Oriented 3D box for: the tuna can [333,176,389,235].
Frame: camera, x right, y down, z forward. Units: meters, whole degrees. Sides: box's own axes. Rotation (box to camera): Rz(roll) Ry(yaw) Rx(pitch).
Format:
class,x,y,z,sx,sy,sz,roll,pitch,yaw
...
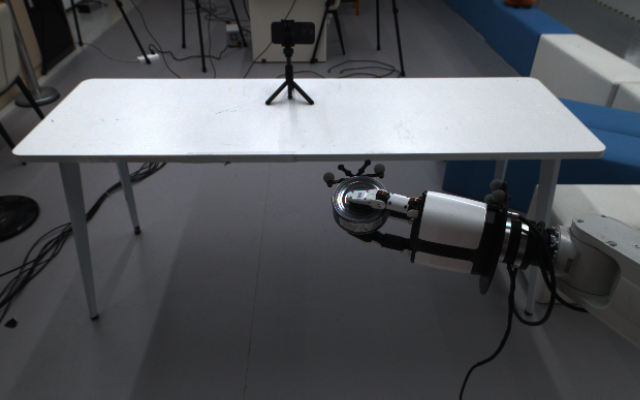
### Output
class,x,y,z,sx,sy,sz,roll,pitch,yaw
tuna can,0.065,0.013,0.718,0.085,0.034,0.085,-3,58,5
